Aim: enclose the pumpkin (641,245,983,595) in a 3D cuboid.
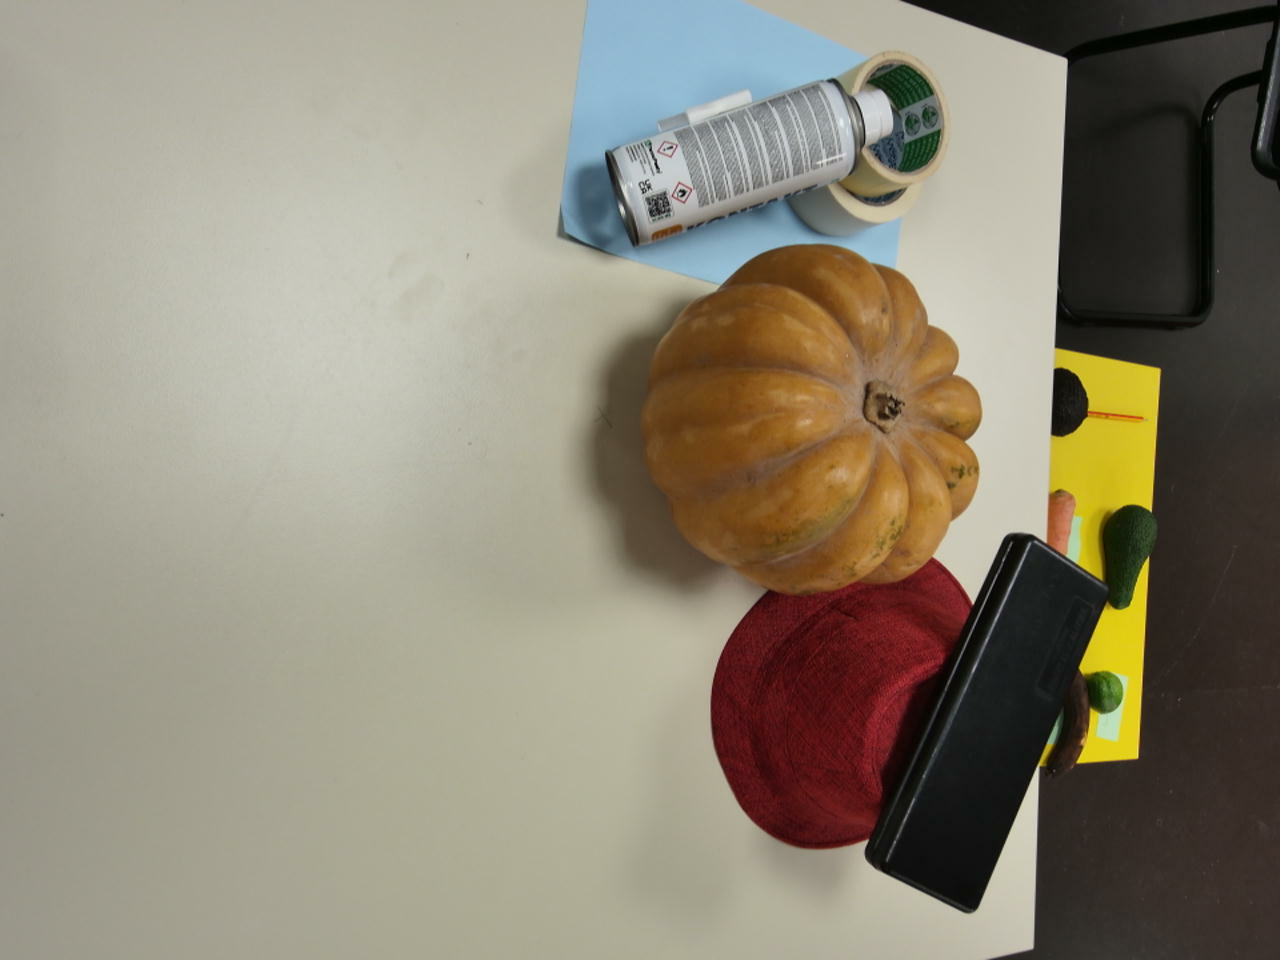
[{"bbox_3d":[0.109,-0.035,0.661,0.230,0.194,0.230,0,91,-28],"label":"pumpkin"}]
